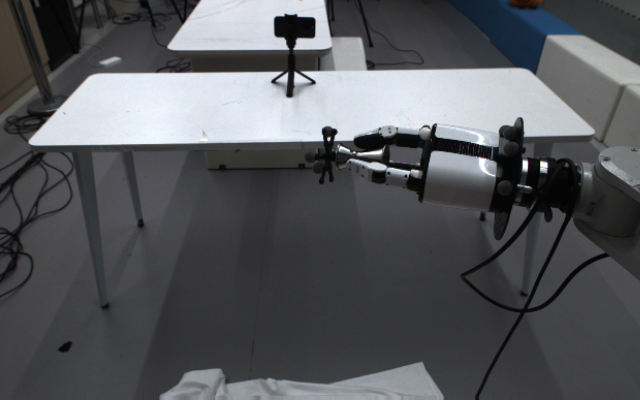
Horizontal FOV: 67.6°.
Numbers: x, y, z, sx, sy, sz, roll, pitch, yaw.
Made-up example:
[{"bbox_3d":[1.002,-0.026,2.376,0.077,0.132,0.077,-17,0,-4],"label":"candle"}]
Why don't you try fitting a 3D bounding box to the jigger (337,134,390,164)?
[{"bbox_3d":[0.066,-0.064,0.676,0.071,0.043,0.043,5,34,20],"label":"jigger"}]
